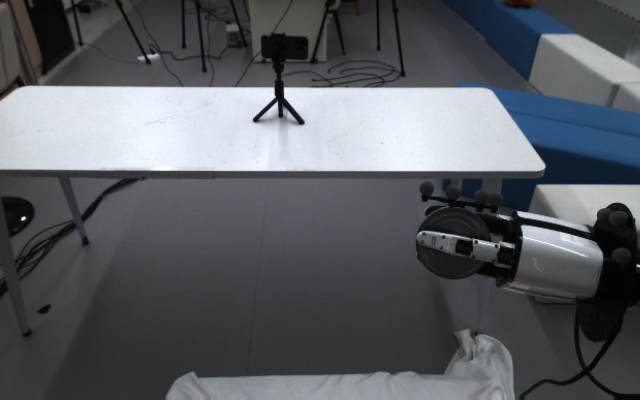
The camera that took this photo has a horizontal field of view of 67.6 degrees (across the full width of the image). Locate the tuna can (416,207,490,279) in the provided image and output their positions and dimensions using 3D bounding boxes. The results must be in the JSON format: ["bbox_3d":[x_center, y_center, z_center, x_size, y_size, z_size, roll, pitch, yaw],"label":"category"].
[{"bbox_3d":[0.161,0.046,0.581,0.085,0.085,0.034,10,3,12],"label":"tuna can"}]
